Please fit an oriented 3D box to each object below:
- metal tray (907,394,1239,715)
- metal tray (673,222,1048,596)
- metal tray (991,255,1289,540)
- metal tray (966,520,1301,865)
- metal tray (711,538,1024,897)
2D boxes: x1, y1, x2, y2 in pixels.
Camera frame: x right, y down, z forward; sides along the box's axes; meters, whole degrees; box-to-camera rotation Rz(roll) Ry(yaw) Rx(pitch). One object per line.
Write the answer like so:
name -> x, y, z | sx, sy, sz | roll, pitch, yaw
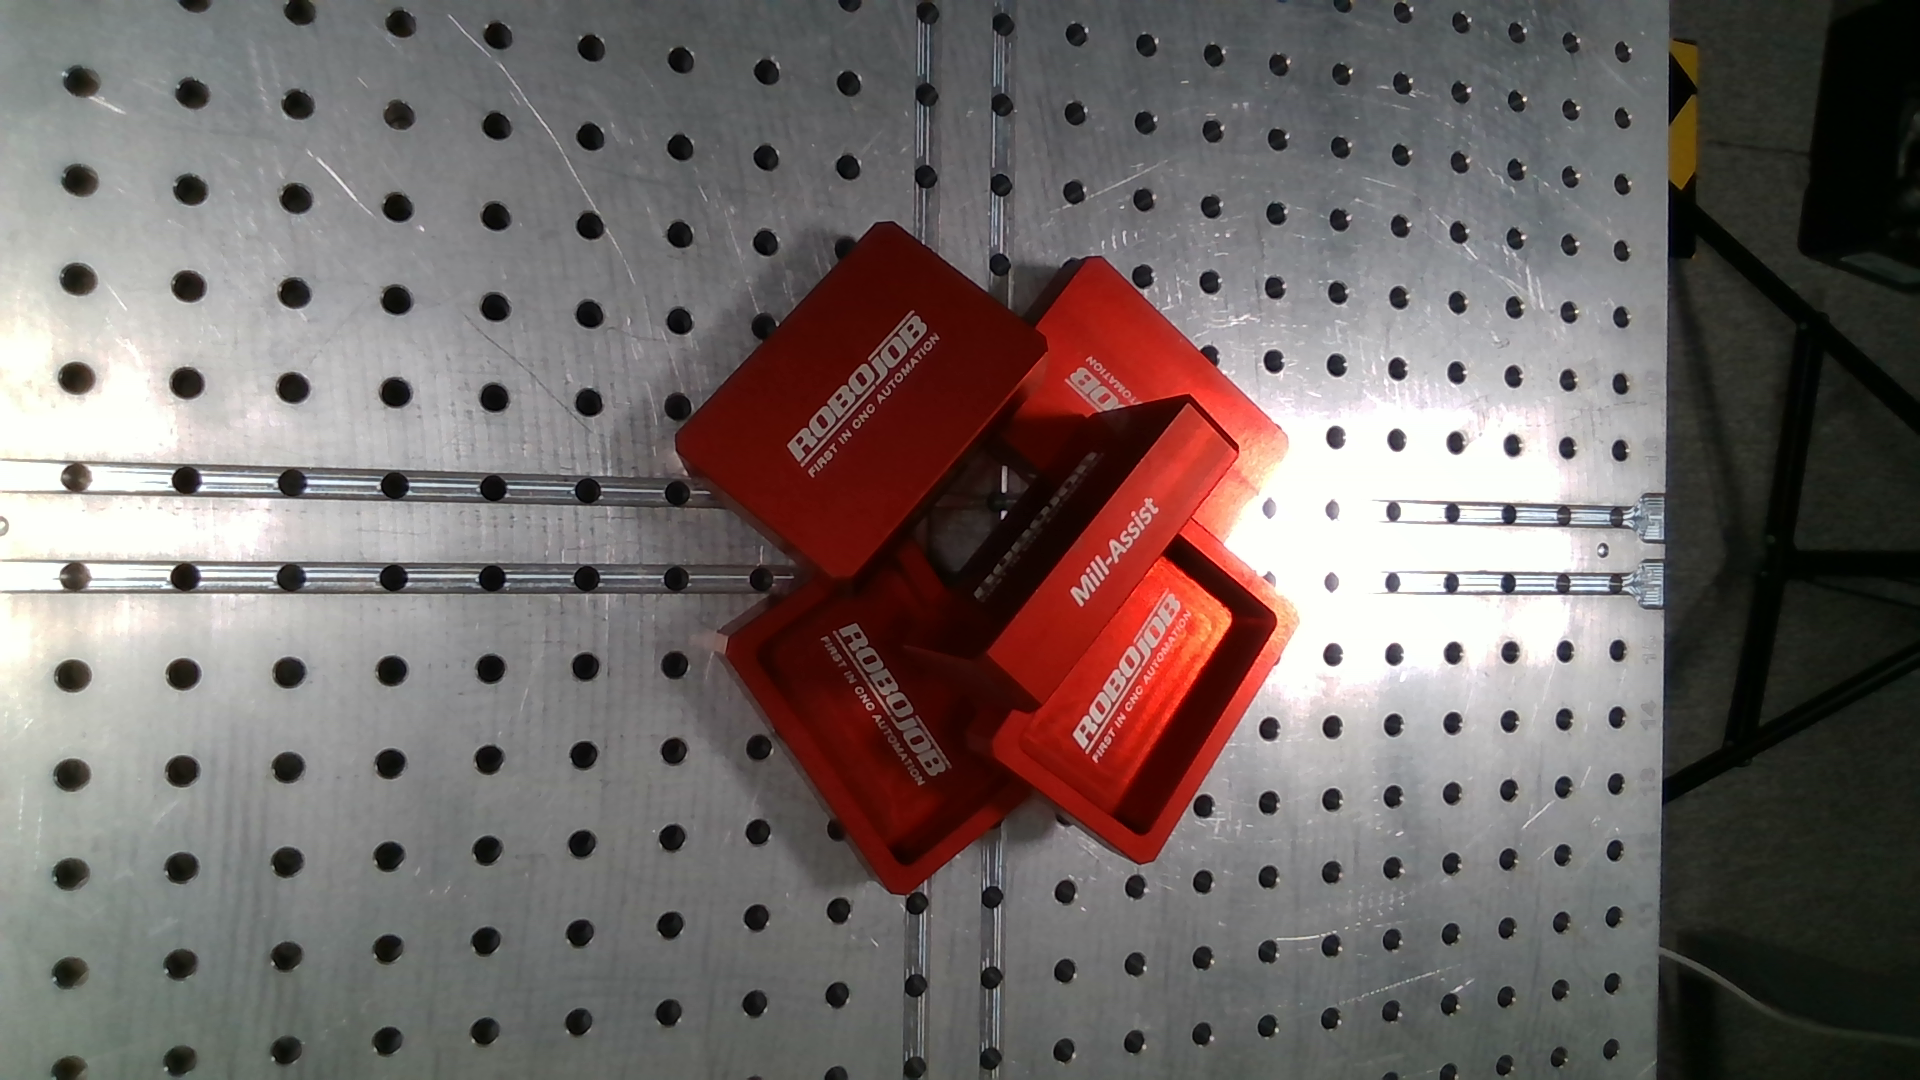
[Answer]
metal tray -> 0.041, 0.004, 0.536 | 0.030, 0.090, 0.130 | 43, 77, -15
metal tray -> -0.038, -0.053, 0.551 | 0.090, 0.030, 0.130 | 38, 76, 10
metal tray -> 0.074, -0.050, 0.612 | 0.130, 0.030, 0.090 | 40, 77, -16
metal tray -> 0.075, 0.058, 0.581 | 0.090, 0.030, 0.130 | 38, 78, -16
metal tray -> -0.031, 0.070, 0.573 | 0.090, 0.030, 0.130 | -36, 102, -17
